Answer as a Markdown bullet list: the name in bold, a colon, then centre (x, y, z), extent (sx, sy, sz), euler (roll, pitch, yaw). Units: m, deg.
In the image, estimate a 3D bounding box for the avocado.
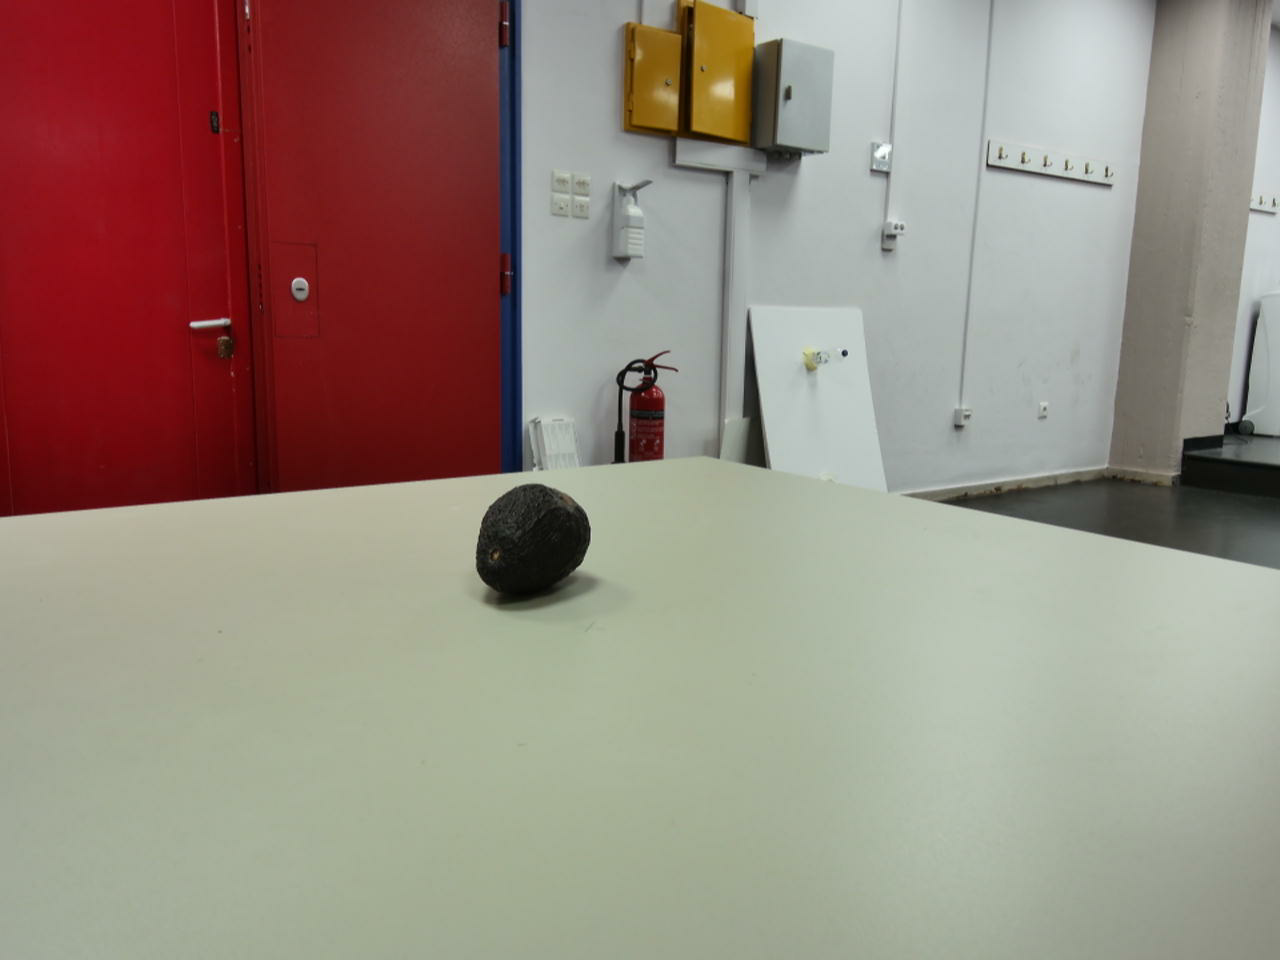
- **avocado**: centre (-0.066, 0.034, 0.593), extent (0.062, 0.062, 0.092), euler (5, 9, 30)
